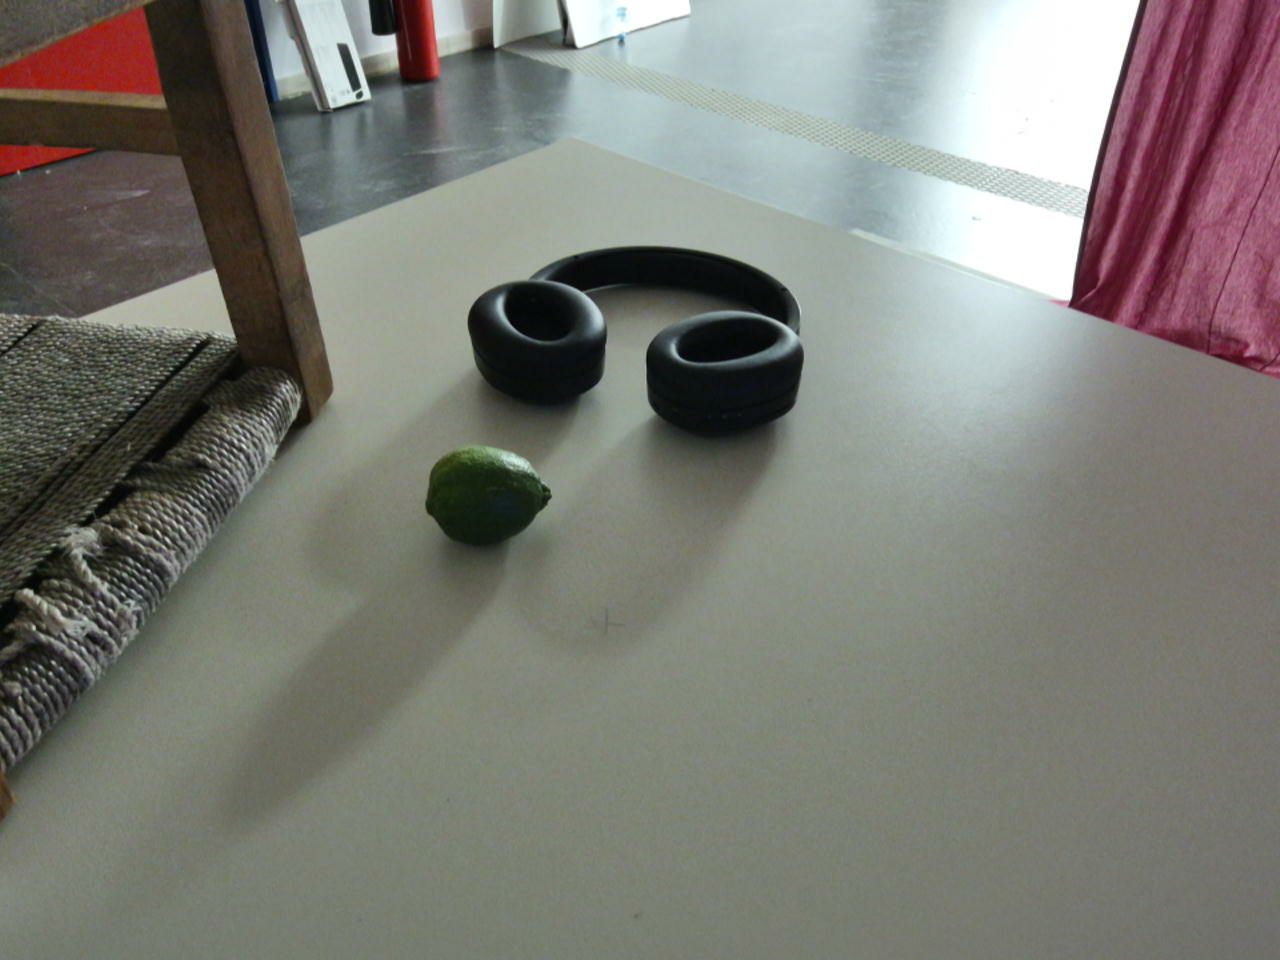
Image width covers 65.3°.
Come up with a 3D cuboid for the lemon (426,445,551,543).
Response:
[{"bbox_3d":[-0.080,0.006,0.509,0.054,0.051,0.057,25,43,28],"label":"lemon"}]
